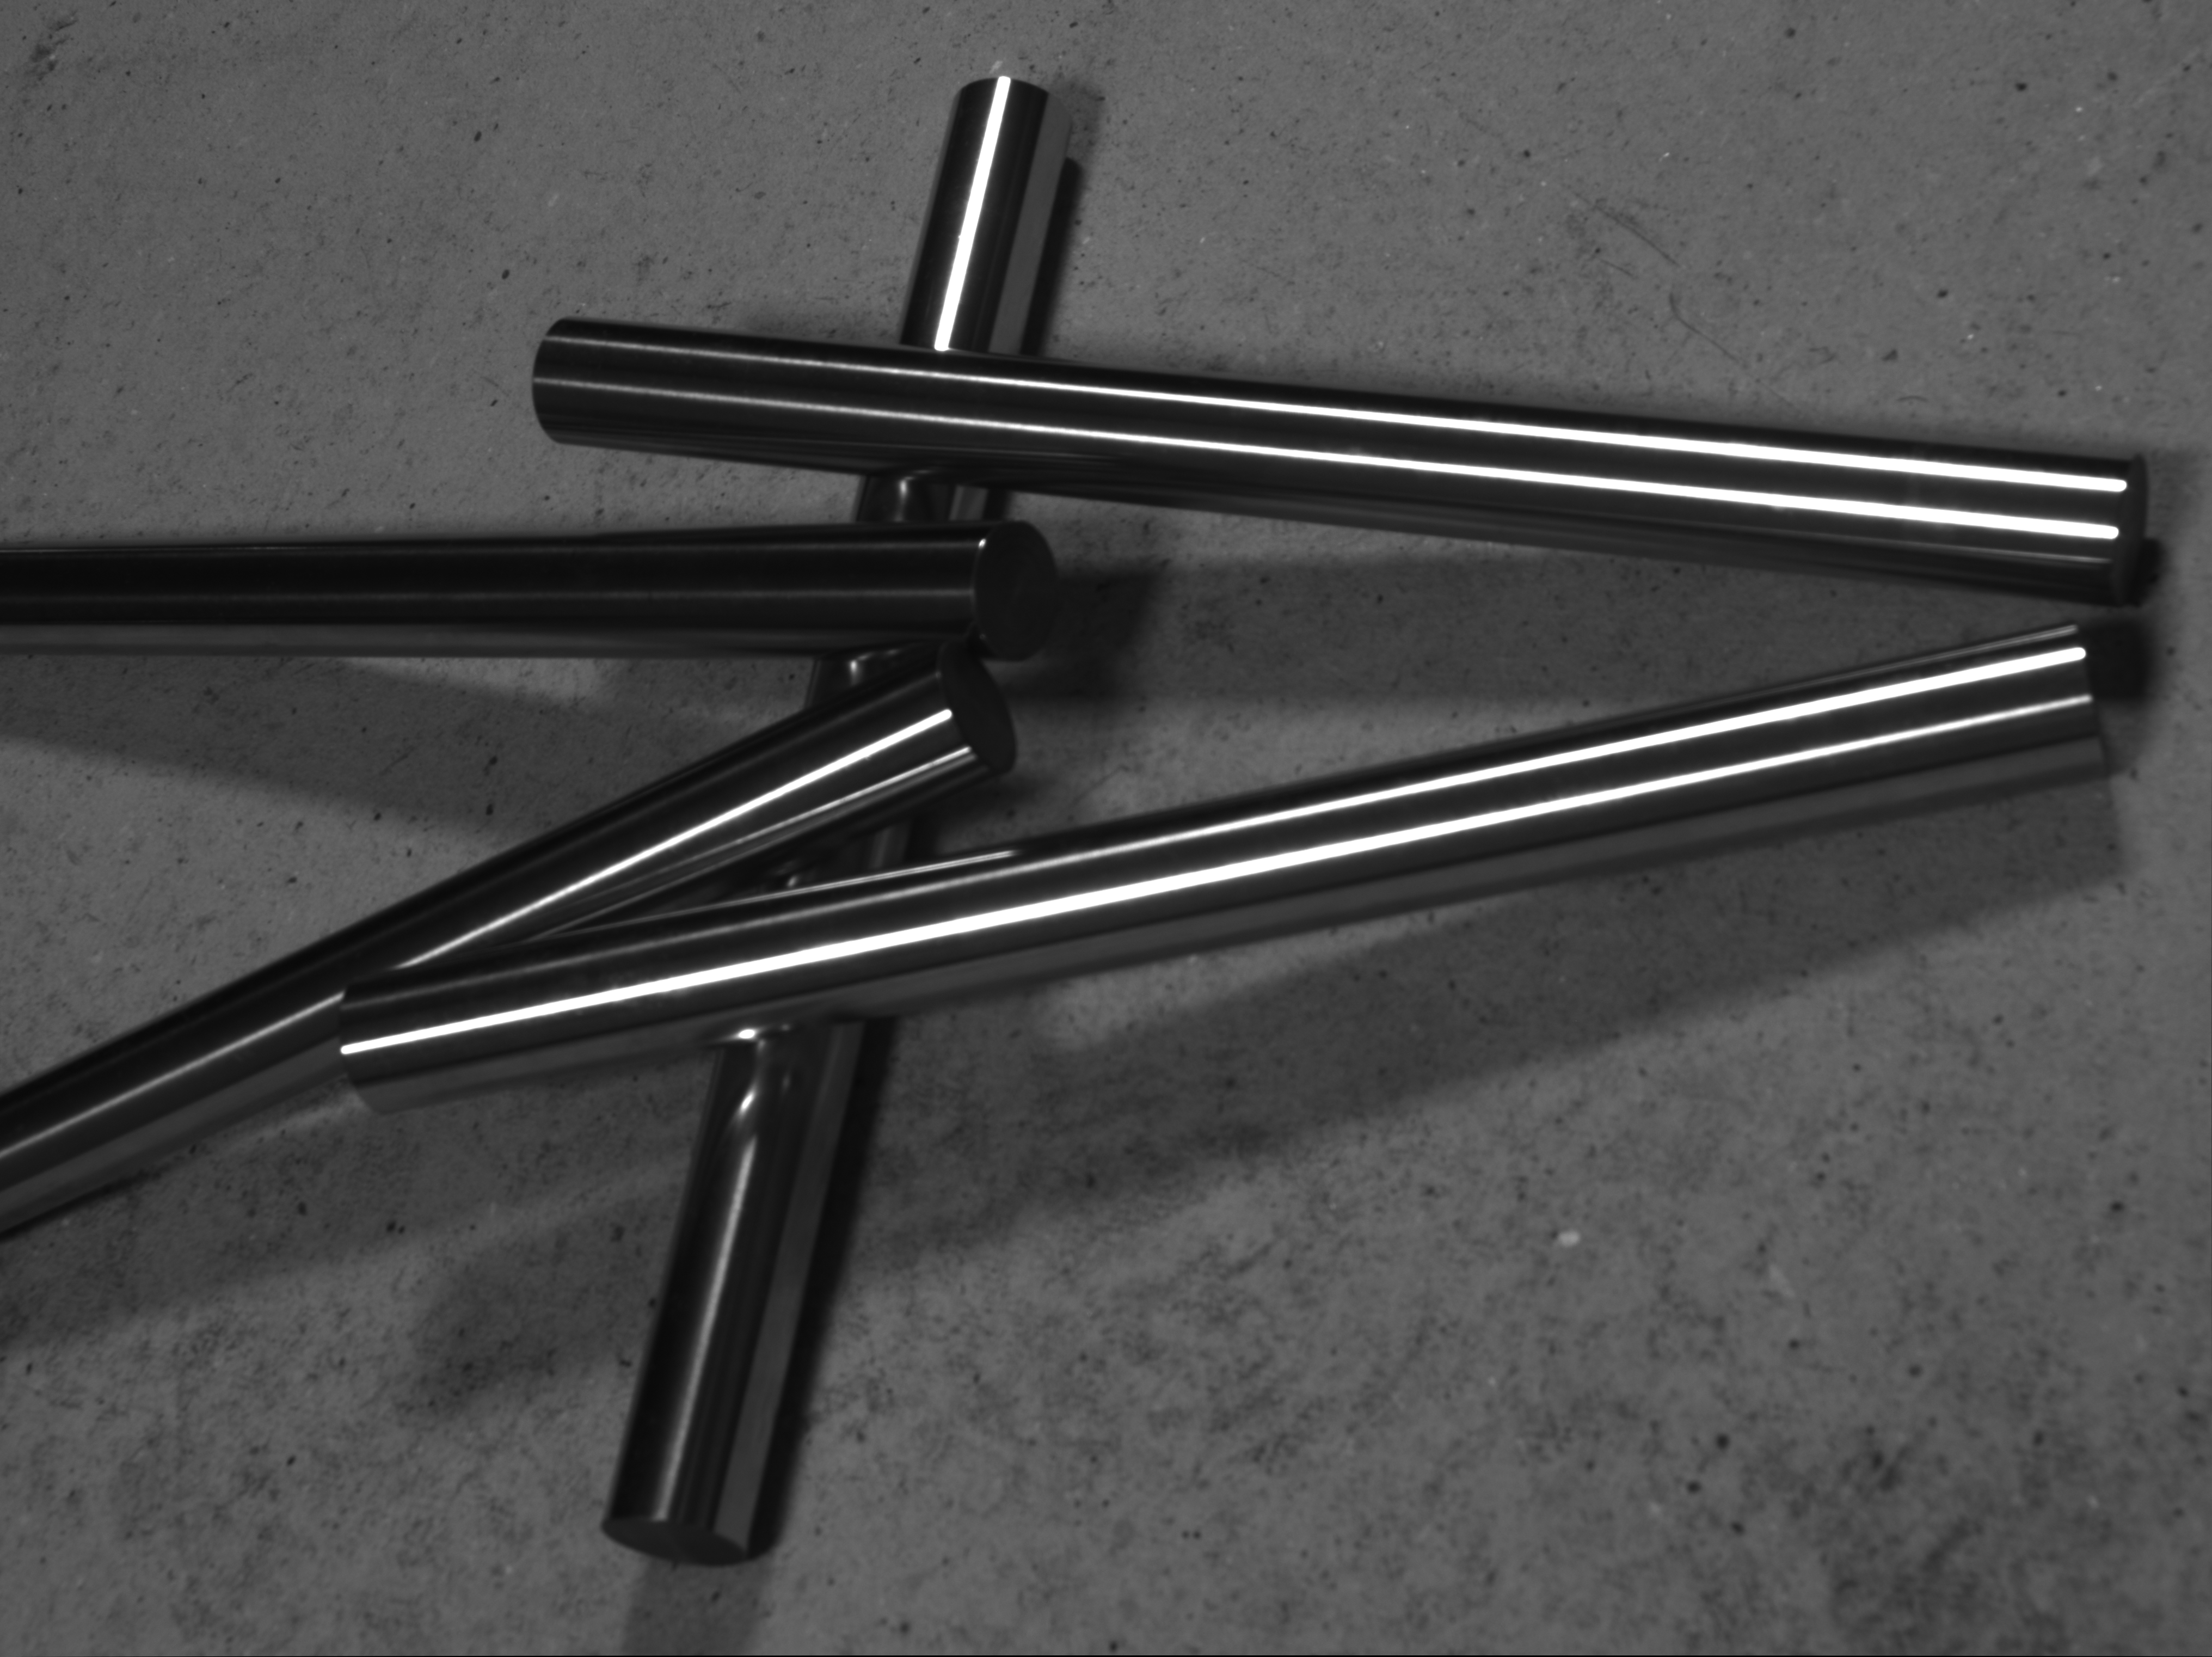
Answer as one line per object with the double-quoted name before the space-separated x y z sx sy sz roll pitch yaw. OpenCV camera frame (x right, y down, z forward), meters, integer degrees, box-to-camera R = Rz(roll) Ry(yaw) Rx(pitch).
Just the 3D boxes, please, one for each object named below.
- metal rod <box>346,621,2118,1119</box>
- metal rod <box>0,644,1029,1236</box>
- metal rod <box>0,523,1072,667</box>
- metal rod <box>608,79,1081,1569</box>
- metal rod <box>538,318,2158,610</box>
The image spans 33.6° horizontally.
"metal rod" 0.014 0.009 0.611 0.300 0.025 0.025 -12 56 14
"metal rod" -0.148 0.036 0.684 0.300 0.025 0.025 -24 53 21
"metal rod" -0.135 -0.046 0.727 0.299 0.025 0.025 2 62 36
"metal rod" -0.044 -0.012 0.676 0.025 0.025 0.300 -3 60 27
"metal rod" 0.031 -0.067 0.648 0.299 0.025 0.025 8 66 25
